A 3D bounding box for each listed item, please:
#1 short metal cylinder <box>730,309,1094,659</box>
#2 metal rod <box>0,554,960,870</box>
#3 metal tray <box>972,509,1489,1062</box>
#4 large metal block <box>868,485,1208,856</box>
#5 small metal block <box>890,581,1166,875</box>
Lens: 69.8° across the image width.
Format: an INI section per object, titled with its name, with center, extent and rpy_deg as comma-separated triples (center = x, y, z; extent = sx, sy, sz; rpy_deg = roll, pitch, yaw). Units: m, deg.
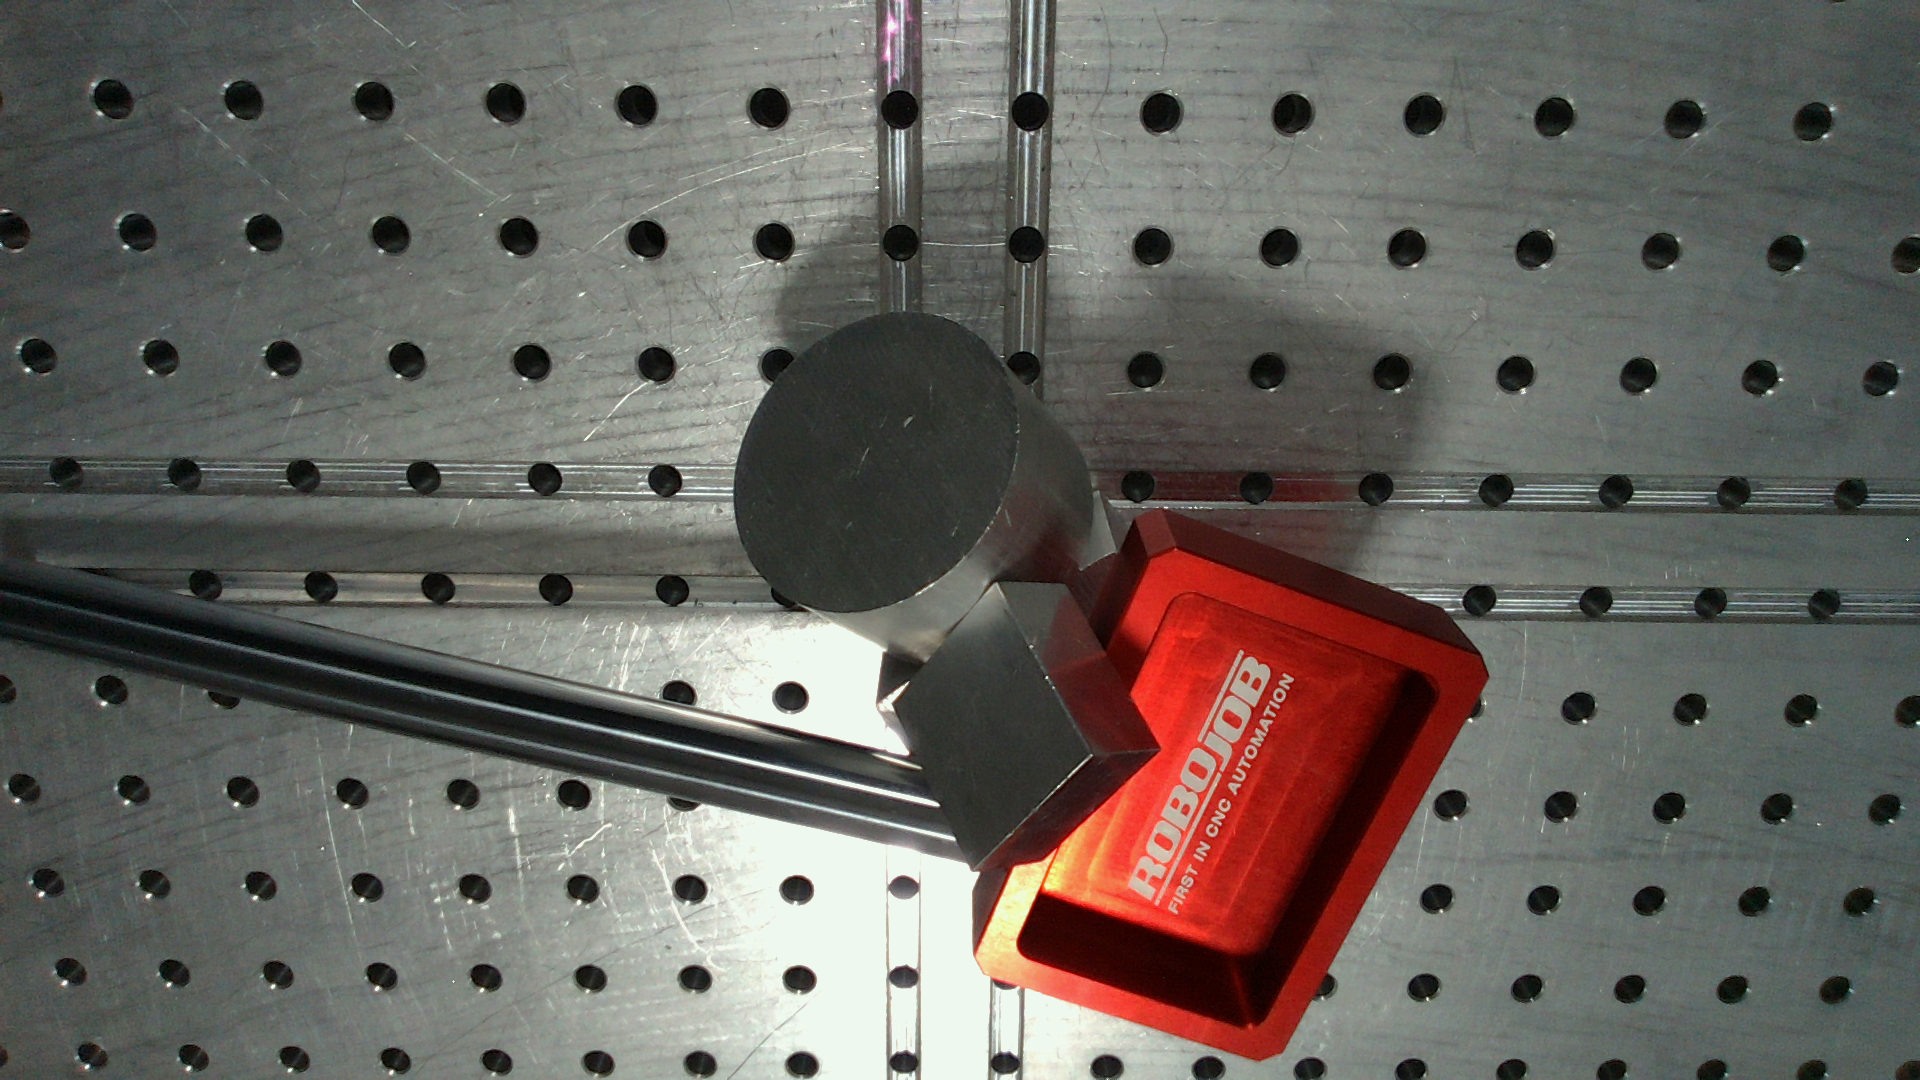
[short metal cylinder]
center = -0.012, -0.012, 0.356
extent = 0.080, 0.080, 0.050
rpy_deg = -33, 150, 11
[metal rod]
center = -0.135, 0.046, 0.381
extent = 0.300, 0.025, 0.025
rpy_deg = 12, 110, 8
[metal tray]
center = 0.066, 0.067, 0.362
extent = 0.090, 0.030, 0.130
rpy_deg = 19, 109, -7
[large metal block]
center = 0.031, 0.045, 0.398
extent = 0.080, 0.050, 0.080
rpy_deg = -34, 107, 11
[small metal block]
center = 0.015, 0.045, 0.336
extent = 0.025, 0.050, 0.050
rpy_deg = 3, 137, -42
